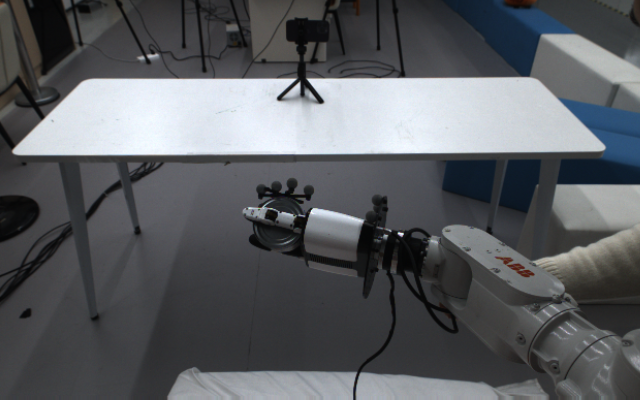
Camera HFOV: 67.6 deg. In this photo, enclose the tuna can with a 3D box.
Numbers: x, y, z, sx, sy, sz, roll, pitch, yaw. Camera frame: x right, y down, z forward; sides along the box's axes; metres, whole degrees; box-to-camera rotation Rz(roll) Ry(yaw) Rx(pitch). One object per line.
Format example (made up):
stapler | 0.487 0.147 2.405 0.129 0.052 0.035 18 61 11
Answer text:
tuna can | -0.061 0.040 0.772 0.085 0.034 0.085 -3 73 10
